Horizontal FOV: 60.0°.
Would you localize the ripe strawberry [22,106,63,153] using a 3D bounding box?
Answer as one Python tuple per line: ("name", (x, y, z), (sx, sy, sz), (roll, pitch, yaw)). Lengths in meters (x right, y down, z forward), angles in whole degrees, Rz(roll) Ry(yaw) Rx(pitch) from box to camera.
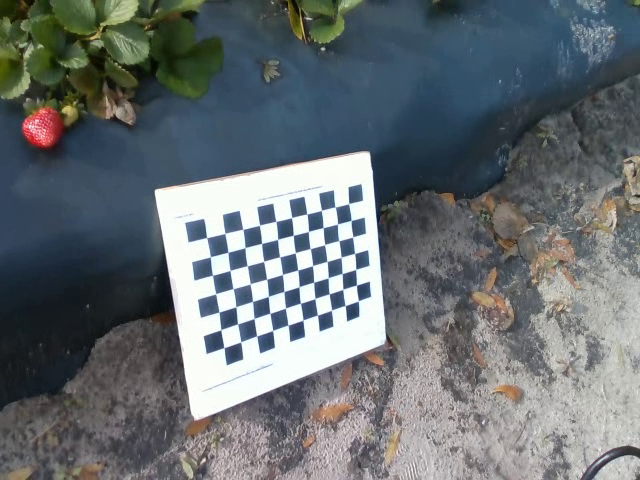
("ripe strawberry", (-0.290, -0.116, 0.571), (0.045, 0.058, 0.051), (-12, -35, -31))
